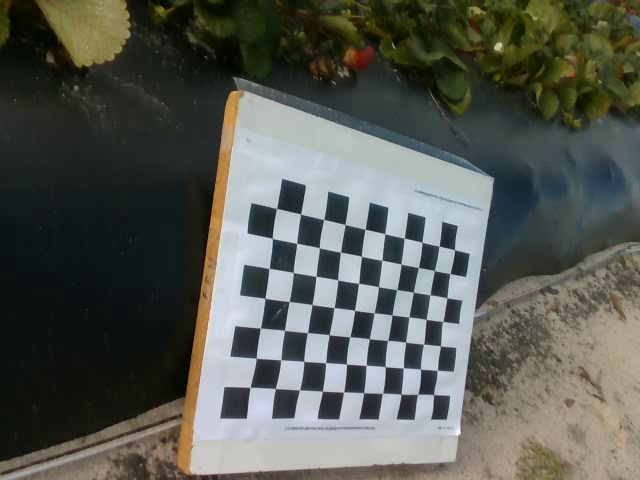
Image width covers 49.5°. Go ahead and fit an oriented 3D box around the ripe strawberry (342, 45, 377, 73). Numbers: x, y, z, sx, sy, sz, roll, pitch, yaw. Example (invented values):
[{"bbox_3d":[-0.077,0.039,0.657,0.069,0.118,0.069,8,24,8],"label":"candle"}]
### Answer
[{"bbox_3d":[0.024,-0.125,0.460,0.027,0.022,0.021,-17,25,-25],"label":"ripe strawberry"}]
